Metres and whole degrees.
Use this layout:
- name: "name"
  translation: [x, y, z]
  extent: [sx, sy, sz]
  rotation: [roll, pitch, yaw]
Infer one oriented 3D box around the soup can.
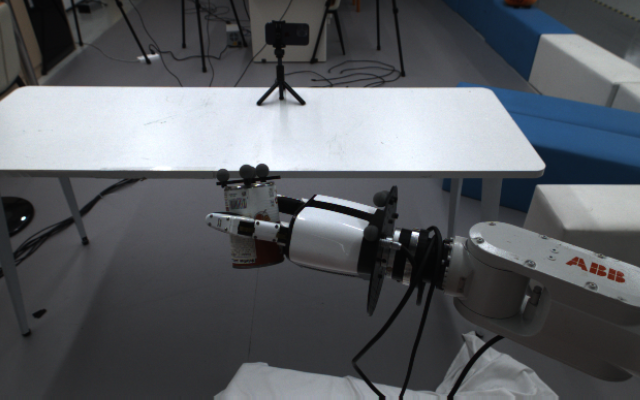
- name: "soup can"
  translation: [-0.082, 0.031, 0.615]
  extent: [0.067, 0.101, 0.067]
  rotation: [-7, 3, 0]
